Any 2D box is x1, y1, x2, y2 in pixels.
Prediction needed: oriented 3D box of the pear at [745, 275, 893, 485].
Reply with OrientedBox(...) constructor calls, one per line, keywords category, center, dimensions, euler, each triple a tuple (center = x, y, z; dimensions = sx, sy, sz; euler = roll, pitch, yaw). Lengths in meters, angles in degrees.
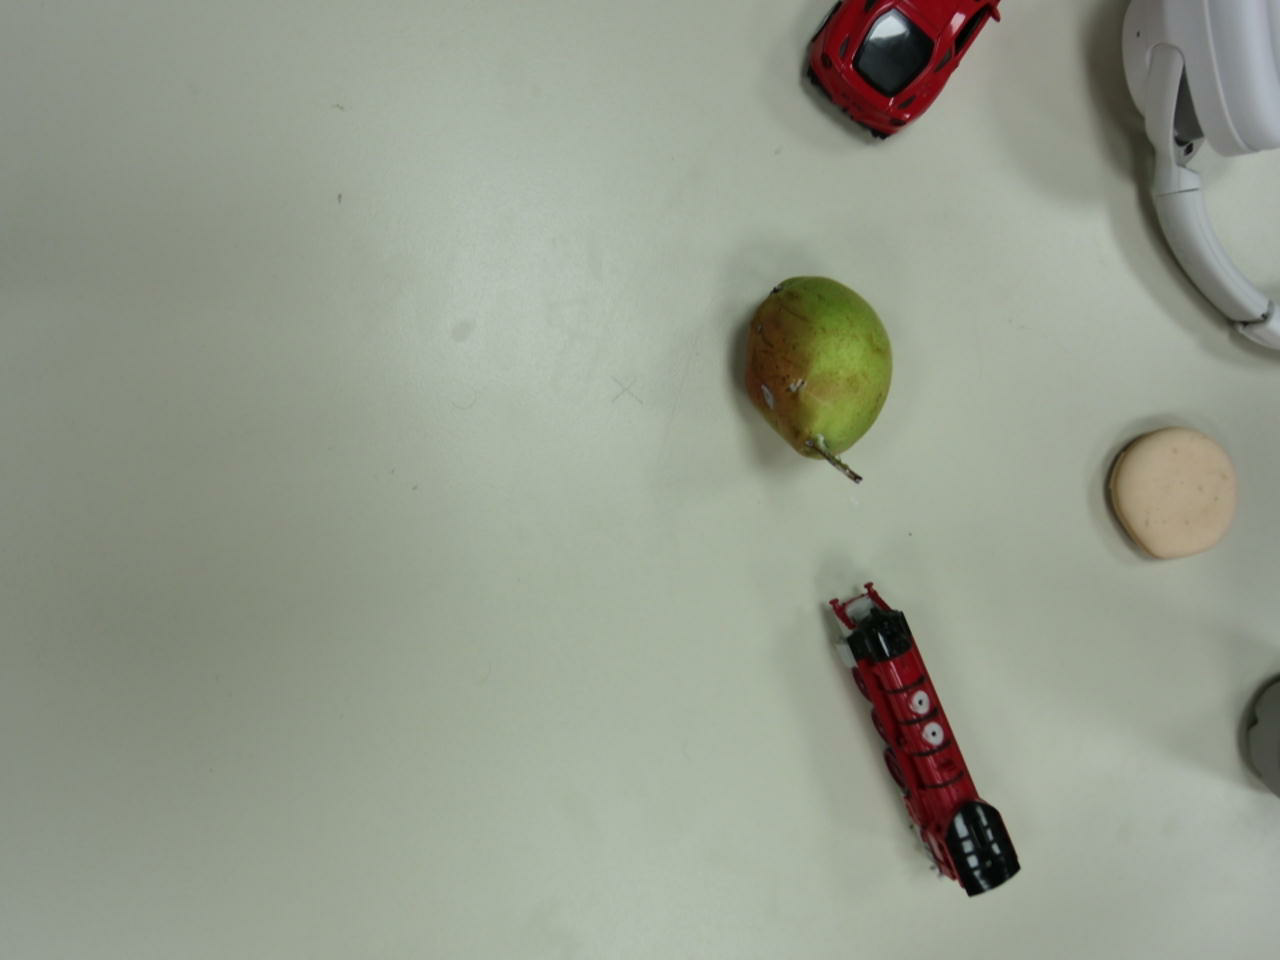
OrientedBox(category="pear", center=(0.073, -0.047, 0.416), dimensions=(0.068, 0.069, 0.070), euler=(41, 83, -9))
